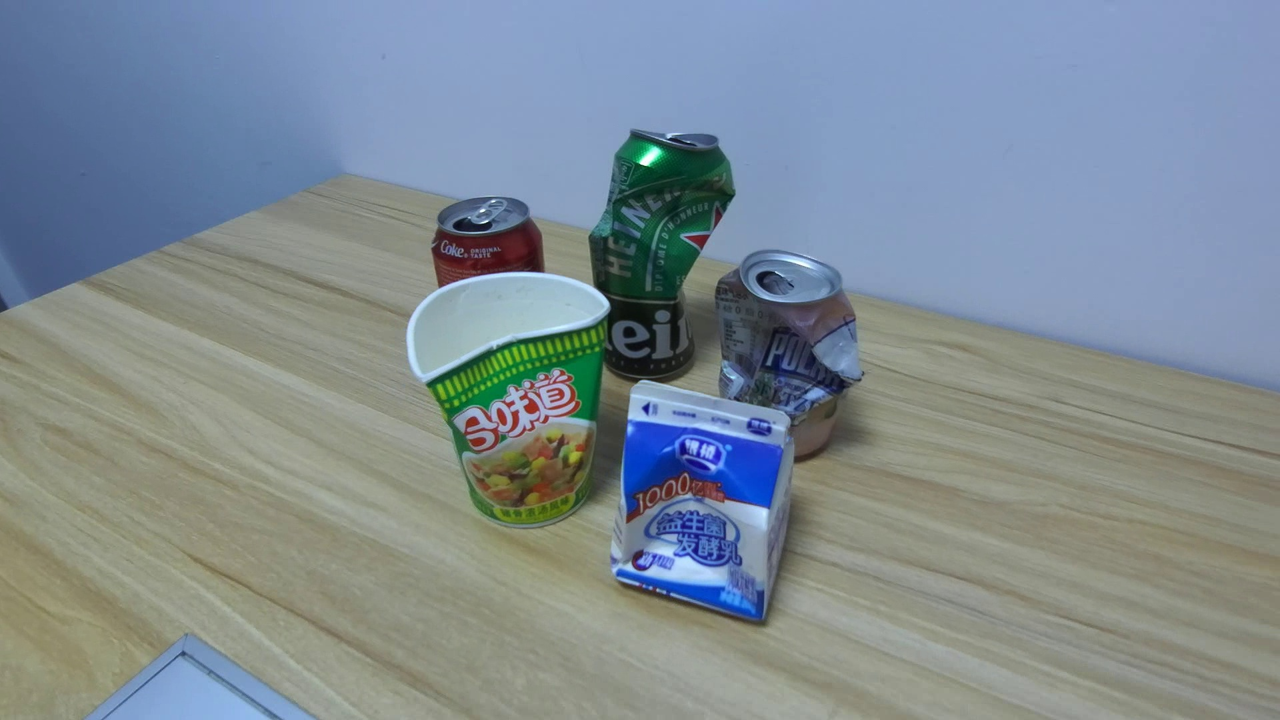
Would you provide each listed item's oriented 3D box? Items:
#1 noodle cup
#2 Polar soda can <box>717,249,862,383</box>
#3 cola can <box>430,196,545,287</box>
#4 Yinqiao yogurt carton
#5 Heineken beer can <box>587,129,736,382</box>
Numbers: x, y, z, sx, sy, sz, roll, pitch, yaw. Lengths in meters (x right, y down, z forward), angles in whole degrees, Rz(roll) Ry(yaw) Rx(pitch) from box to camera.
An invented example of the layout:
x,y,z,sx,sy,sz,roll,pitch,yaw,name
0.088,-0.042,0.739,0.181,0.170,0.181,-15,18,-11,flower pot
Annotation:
x,y,z,sx,sy,sz,roll,pitch,yaw,name
-0.060,0.022,0.365,0.094,0.109,0.086,-7,36,-8,noodle cup
0.082,-0.001,0.394,0.074,0.114,0.070,-4,42,2,Polar soda can
-0.092,-0.041,0.450,0.068,0.120,0.067,0,35,1,cola can
0.032,0.056,0.329,0.077,0.094,0.071,11,31,16,Yinqiao yogurt carton
0.010,-0.063,0.445,0.067,0.159,0.079,19,32,23,Heineken beer can
